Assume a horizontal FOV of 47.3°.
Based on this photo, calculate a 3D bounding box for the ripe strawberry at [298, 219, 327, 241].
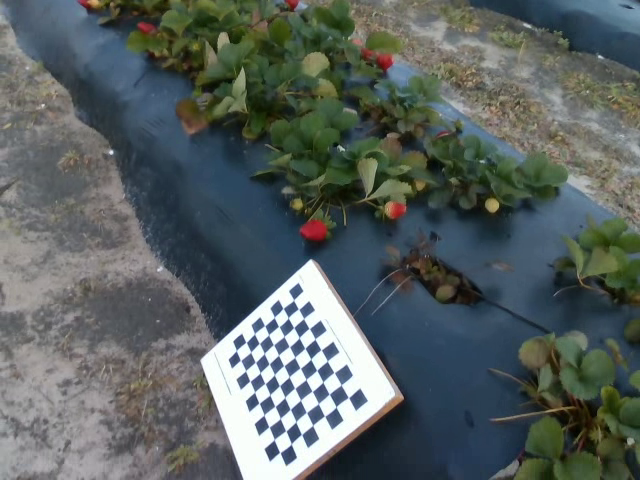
[{"bbox_3d":[-0.012,-0.023,1.196,0.046,0.042,0.055,-11,-5,38],"label":"ripe strawberry"}]
